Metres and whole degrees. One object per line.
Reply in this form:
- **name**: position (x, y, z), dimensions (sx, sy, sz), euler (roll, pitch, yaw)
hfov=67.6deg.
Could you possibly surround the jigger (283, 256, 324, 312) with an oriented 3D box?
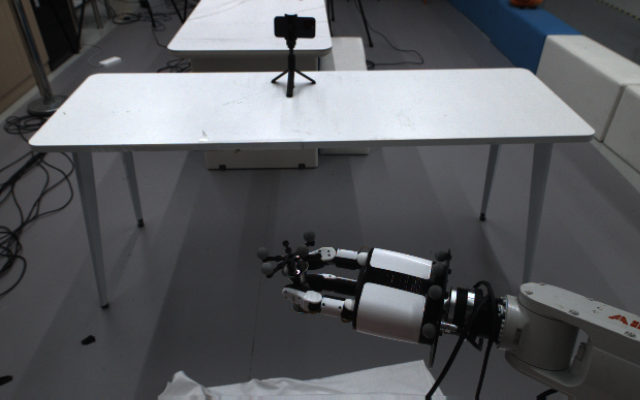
- **jigger**: position (-0.026, 0.122, 0.690), dimensions (0.043, 0.071, 0.043), euler (-12, 29, 7)
